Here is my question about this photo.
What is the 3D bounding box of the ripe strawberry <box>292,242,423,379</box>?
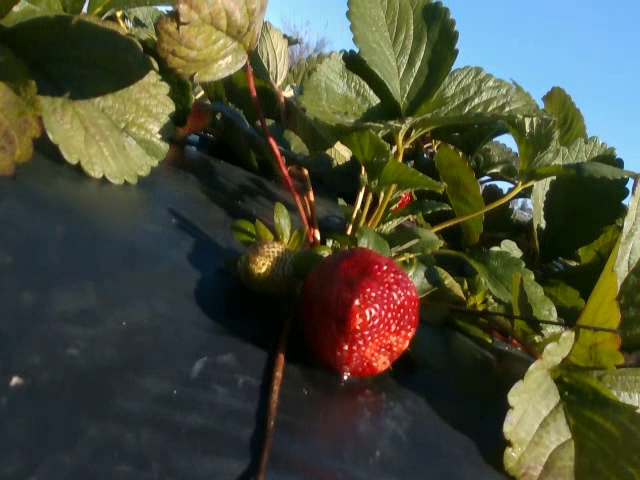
[{"bbox_3d":[0.011,0.021,0.173,0.041,0.043,0.053,33,1,-2],"label":"ripe strawberry"}]
